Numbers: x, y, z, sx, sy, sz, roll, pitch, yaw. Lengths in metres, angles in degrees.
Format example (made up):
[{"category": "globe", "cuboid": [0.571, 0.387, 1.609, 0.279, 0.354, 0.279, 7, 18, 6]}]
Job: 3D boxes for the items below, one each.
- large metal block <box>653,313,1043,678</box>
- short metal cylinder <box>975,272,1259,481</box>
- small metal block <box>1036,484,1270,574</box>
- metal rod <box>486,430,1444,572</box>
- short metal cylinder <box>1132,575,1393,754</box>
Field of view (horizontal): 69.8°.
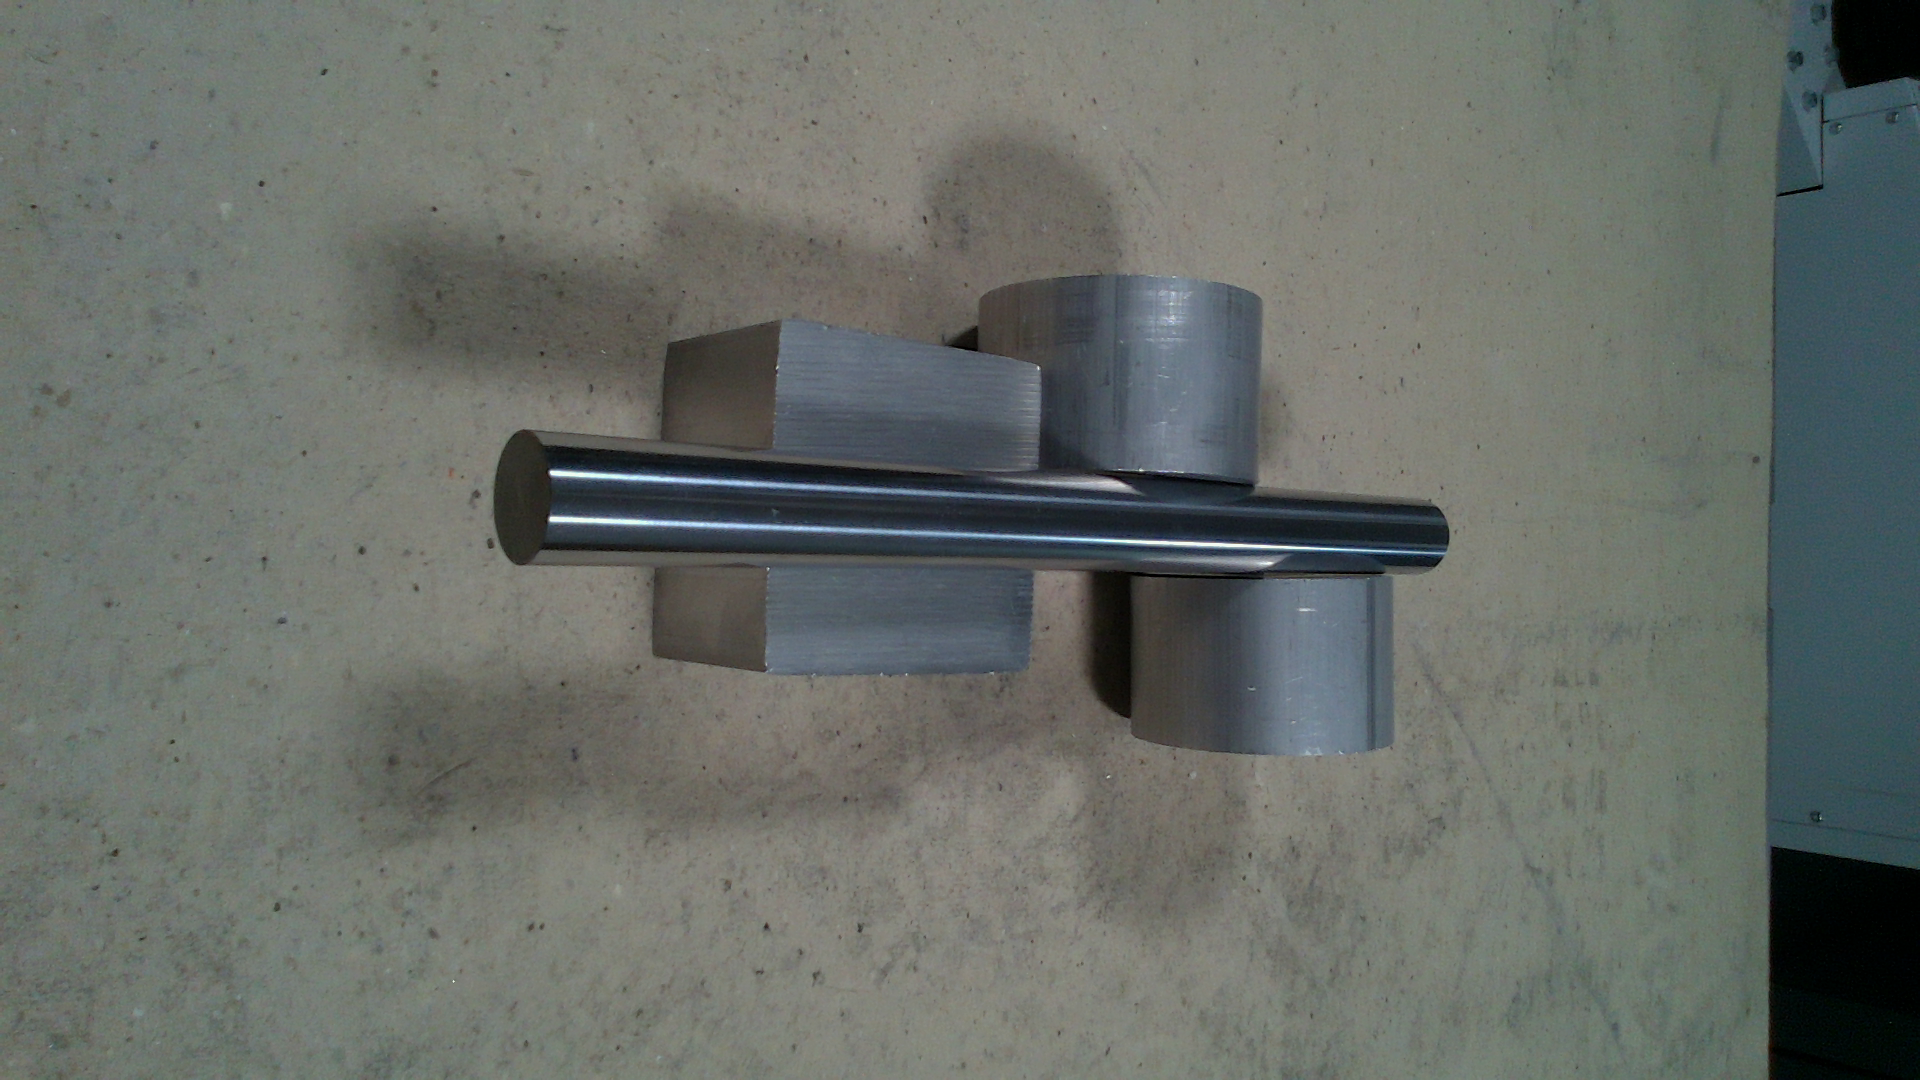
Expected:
[{"category": "large metal block", "cuboid": [-0.027, -0.008, 0.346, 0.080, 0.050, 0.080, 4, 87, -40]}, {"category": "short metal cylinder", "cuboid": [0.044, -0.042, 0.391, 0.080, 0.080, 0.050, 3, 88, -40]}, {"category": "small metal block", "cuboid": [0.059, -0.003, 0.420, 0.050, 0.050, 0.025, 1, 89, -40]}, {"category": "metal rod", "cuboid": [0.032, -0.005, 0.350, 0.301, 0.025, 0.025, 2, 89, -41]}, {"category": "short metal cylinder", "cuboid": [0.094, 0.036, 0.431, 0.080, 0.080, 0.050, 0, 90, -40]}]
